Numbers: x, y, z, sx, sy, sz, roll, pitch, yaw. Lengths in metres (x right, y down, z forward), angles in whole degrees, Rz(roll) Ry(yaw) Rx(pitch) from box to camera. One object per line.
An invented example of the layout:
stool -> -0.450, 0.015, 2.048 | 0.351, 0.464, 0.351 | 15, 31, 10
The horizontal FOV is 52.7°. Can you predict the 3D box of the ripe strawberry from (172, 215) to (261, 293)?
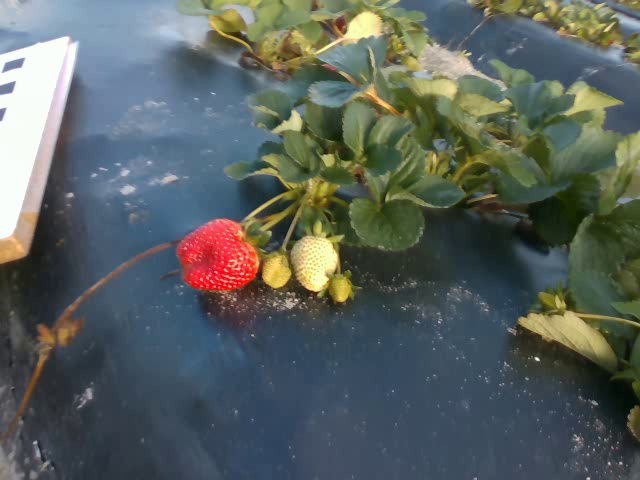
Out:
ripe strawberry -> -0.068, 0.005, 0.400 | 0.050, 0.035, 0.048 | -25, 44, -18
